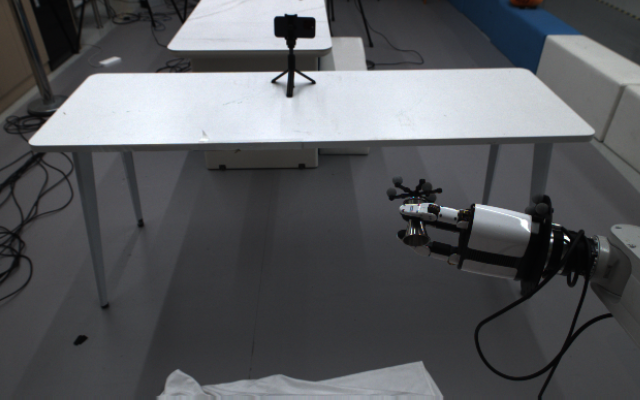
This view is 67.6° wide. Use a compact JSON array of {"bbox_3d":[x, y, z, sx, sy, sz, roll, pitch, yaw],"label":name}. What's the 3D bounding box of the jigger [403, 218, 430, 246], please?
[{"bbox_3d":[0.151,0.031,0.772,0.043,0.043,0.071,4,61,3],"label":"jigger"}]
